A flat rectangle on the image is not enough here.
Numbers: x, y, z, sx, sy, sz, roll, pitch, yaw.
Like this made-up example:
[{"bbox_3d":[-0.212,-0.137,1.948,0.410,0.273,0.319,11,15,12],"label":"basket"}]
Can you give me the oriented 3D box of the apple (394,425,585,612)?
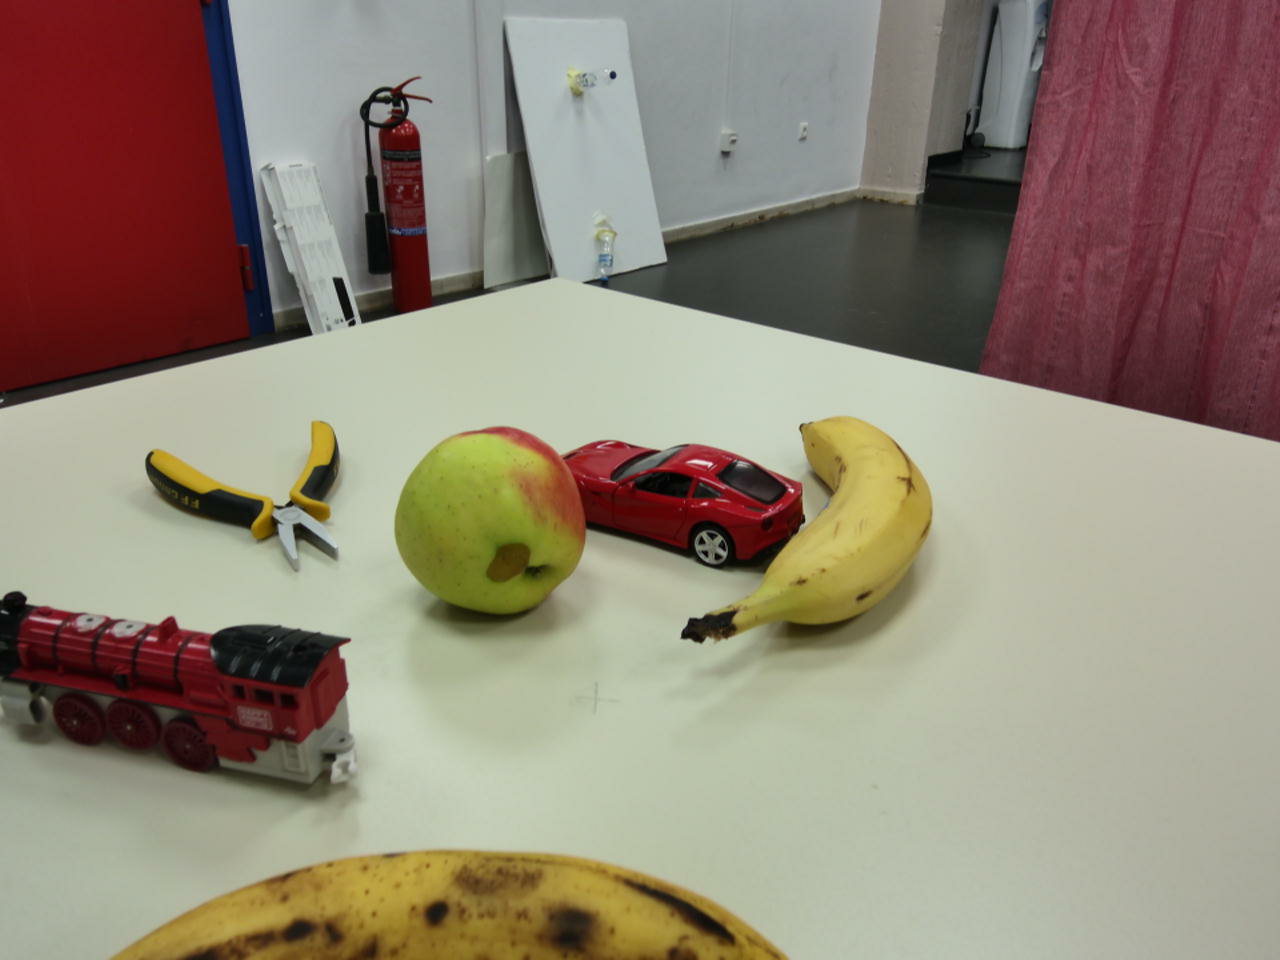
[{"bbox_3d":[-0.059,0.015,0.406,0.075,0.074,0.075,9,24,18],"label":"apple"}]
